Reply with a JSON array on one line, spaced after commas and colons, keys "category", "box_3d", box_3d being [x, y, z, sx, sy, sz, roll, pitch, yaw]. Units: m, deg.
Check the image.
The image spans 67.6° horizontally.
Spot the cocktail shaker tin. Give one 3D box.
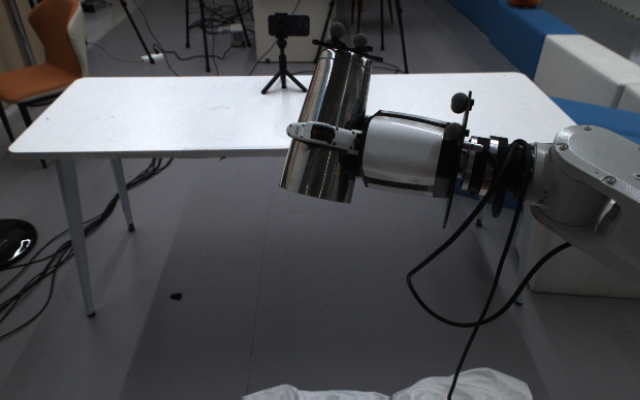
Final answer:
[{"category": "cocktail shaker tin", "box_3d": [0.014, -0.089, 0.590, 0.093, 0.170, 0.093, 13, 4, -1]}]
